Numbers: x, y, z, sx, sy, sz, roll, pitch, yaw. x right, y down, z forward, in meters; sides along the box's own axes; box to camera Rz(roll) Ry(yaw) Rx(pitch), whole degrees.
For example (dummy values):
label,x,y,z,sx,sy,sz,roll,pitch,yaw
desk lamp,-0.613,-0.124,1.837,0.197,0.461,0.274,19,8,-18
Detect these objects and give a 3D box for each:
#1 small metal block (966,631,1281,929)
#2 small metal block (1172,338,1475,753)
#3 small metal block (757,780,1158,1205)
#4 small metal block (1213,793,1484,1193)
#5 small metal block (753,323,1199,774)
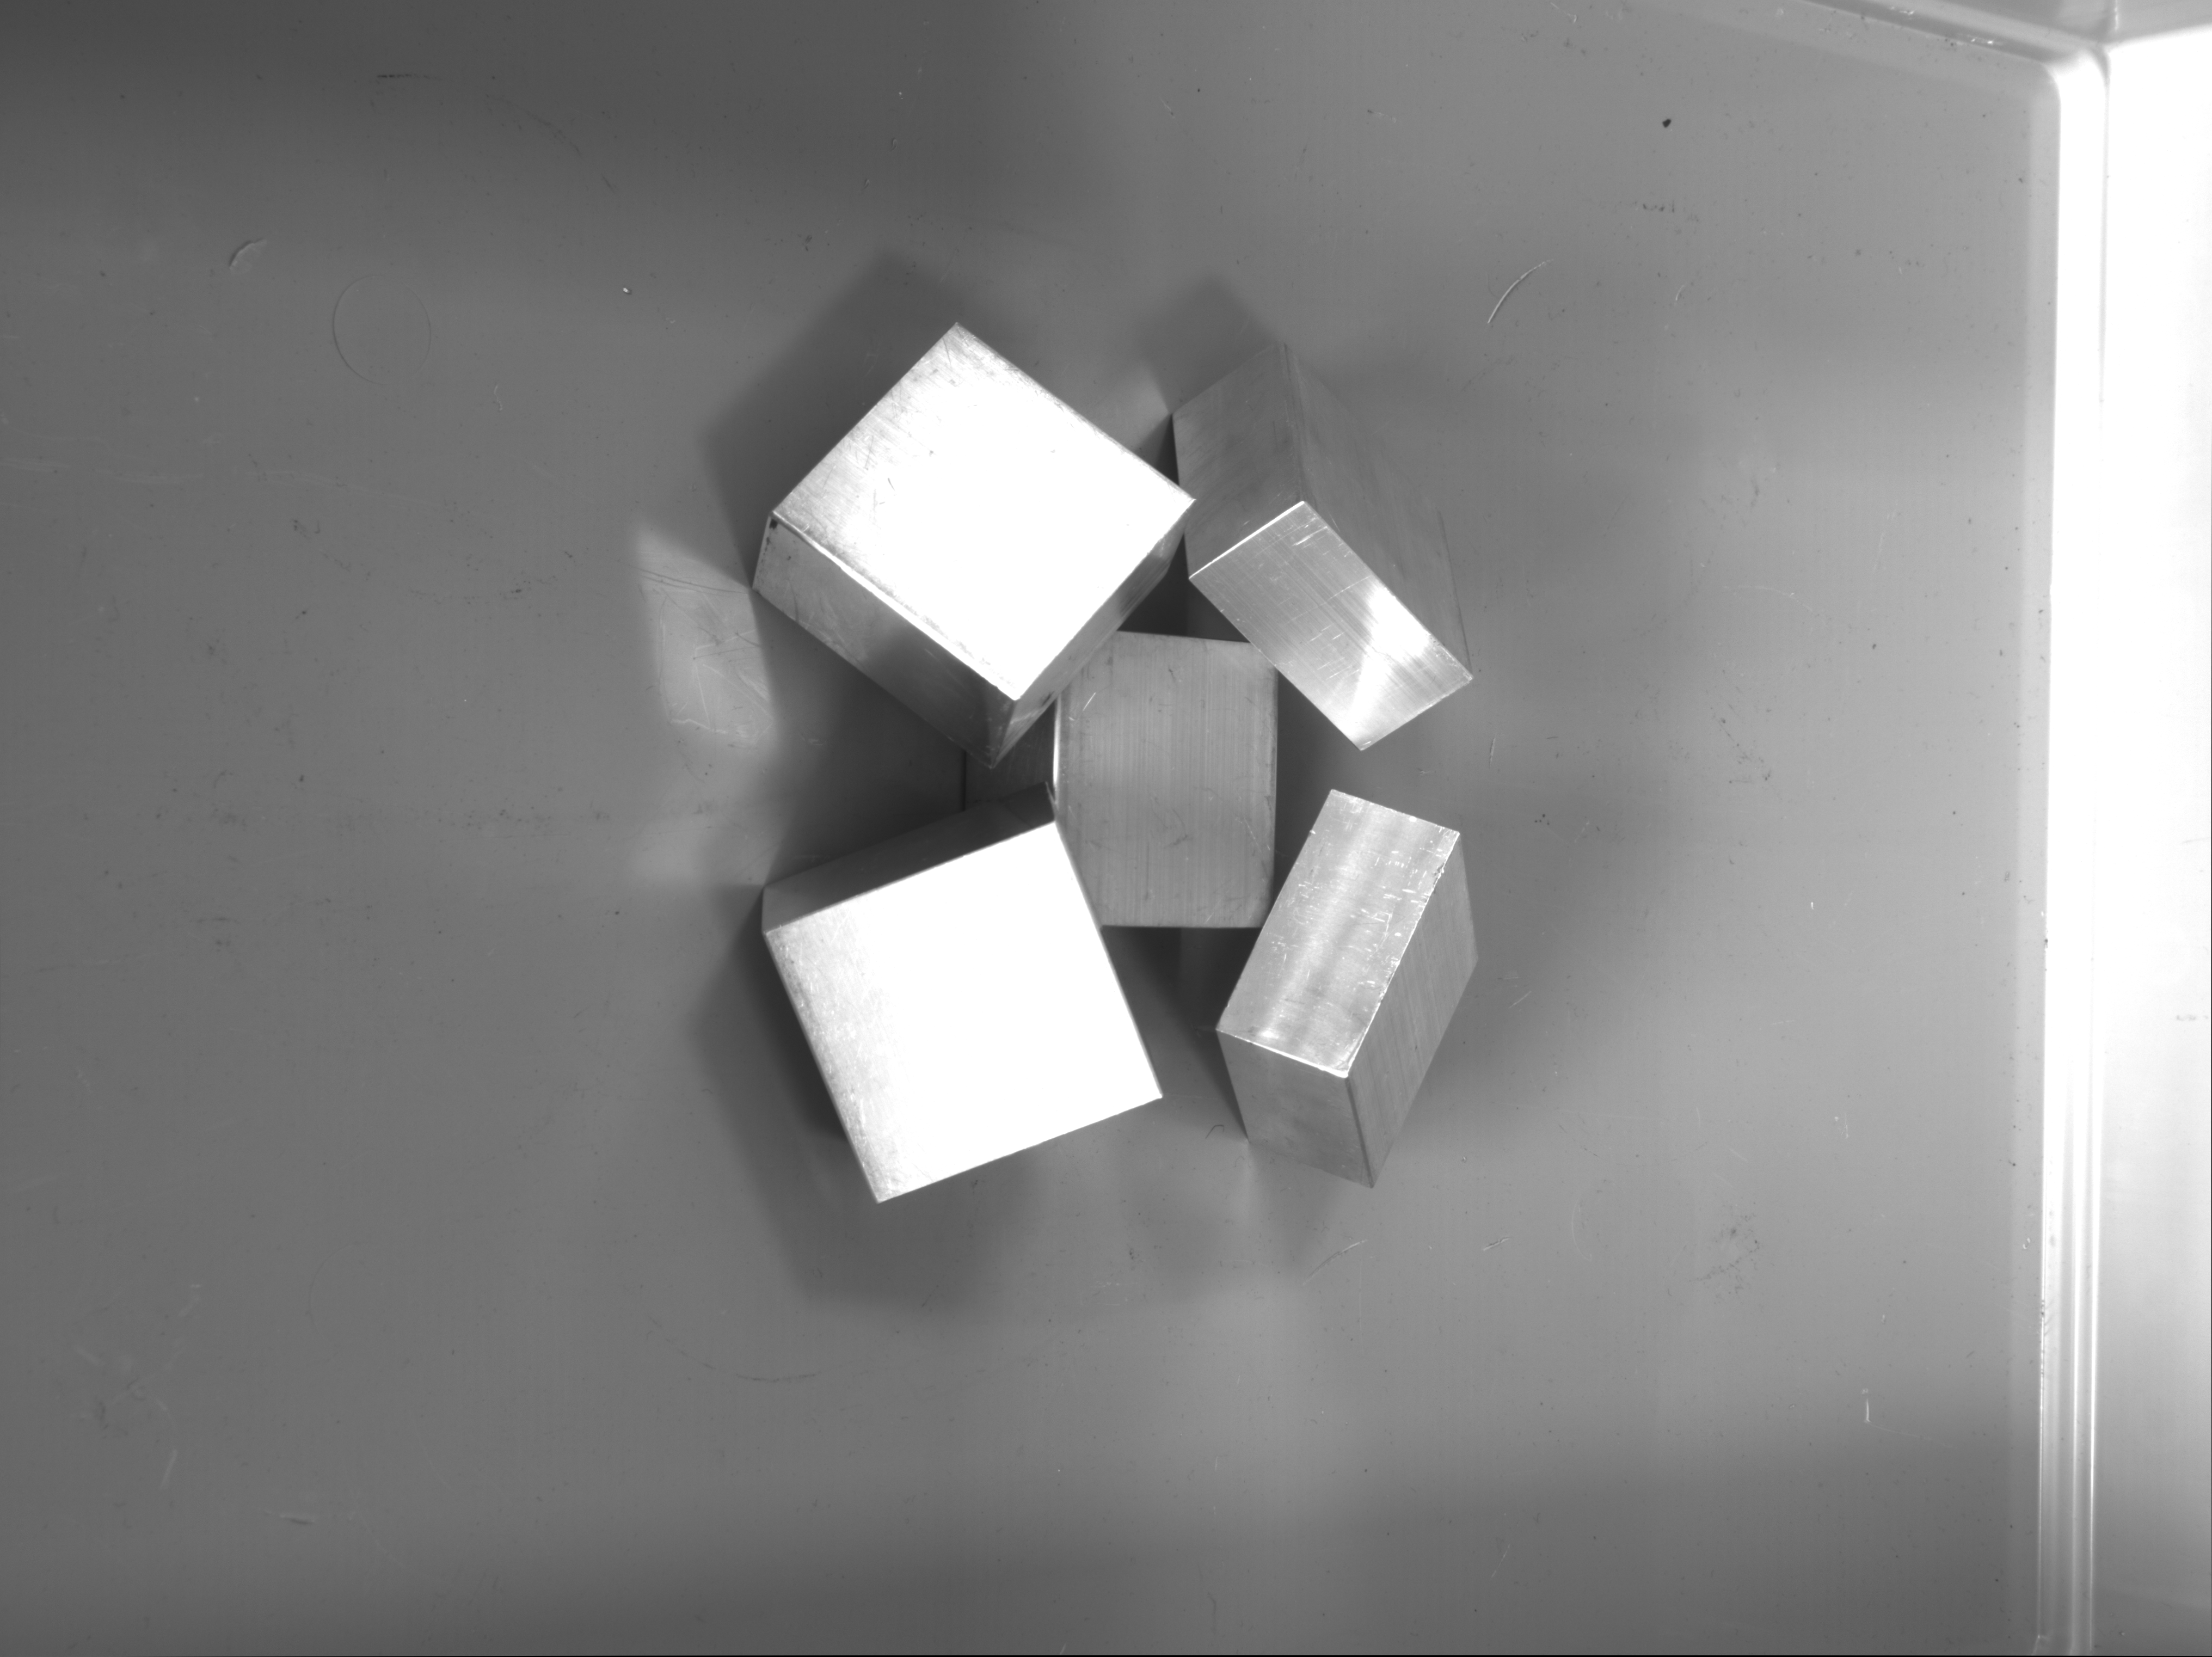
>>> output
label,x,y,z,sx,sy,sz,roll,pitch,yaw
small metal block,0.003,-0.008,0.636,0.050,0.025,0.050,2,88,-40
small metal block,0.038,-0.050,0.650,0.050,0.025,0.050,43,27,-32
small metal block,-0.024,0.027,0.598,0.050,0.025,0.050,-20,106,1
small metal block,0.044,0.030,0.656,0.050,0.025,0.050,-63,159,-21
small metal block,-0.021,-0.046,0.600,0.050,0.025,0.050,36,62,7
